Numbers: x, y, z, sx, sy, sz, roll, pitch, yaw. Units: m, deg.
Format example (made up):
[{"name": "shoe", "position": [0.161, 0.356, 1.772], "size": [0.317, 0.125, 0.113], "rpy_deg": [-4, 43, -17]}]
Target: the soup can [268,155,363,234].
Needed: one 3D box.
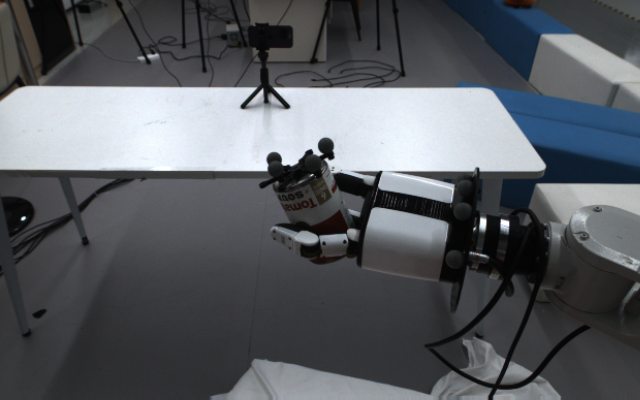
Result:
[{"name": "soup can", "position": [0.000, 0.012, 0.551], "size": [0.067, 0.101, 0.067], "rpy_deg": [-22, 24, 10]}]
